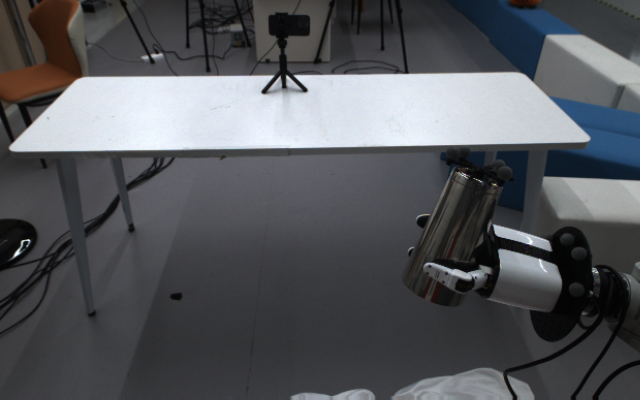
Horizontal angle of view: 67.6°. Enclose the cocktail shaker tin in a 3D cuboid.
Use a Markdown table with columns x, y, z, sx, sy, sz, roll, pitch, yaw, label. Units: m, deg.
| x | y | z | sx | sy | sz | roll | pitch | yaw | label |
| --- | --- | --- | --- | --- | --- | --- | --- | --- | --- |
| 0.182 | 0.045 | 0.651 | 0.093 | 0.170 | 0.093 | 14 | 20 | -5 | cocktail shaker tin |
